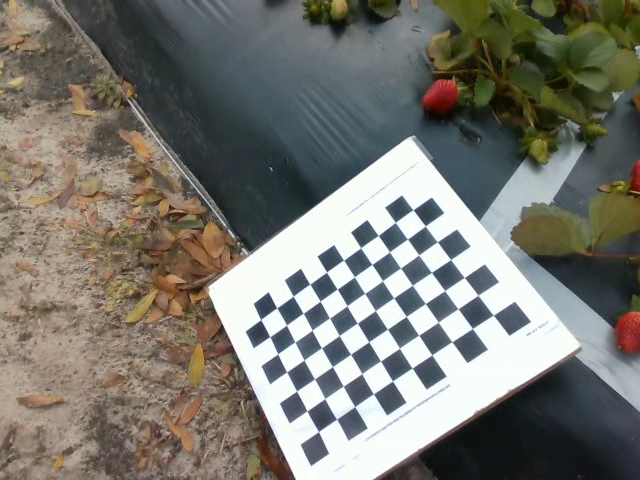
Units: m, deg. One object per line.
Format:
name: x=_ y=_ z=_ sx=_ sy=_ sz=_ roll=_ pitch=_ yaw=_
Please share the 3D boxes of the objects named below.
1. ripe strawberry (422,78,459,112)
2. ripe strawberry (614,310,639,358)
ripe strawberry: x=0.127 y=-0.152 z=0.748 sx=0.046 sy=0.040 sz=0.036 roll=-13 pitch=34 yaw=-33
ripe strawberry: x=0.269 y=0.083 z=0.608 sx=0.039 sy=0.046 sz=0.041 roll=11 pitch=-25 yaw=39
